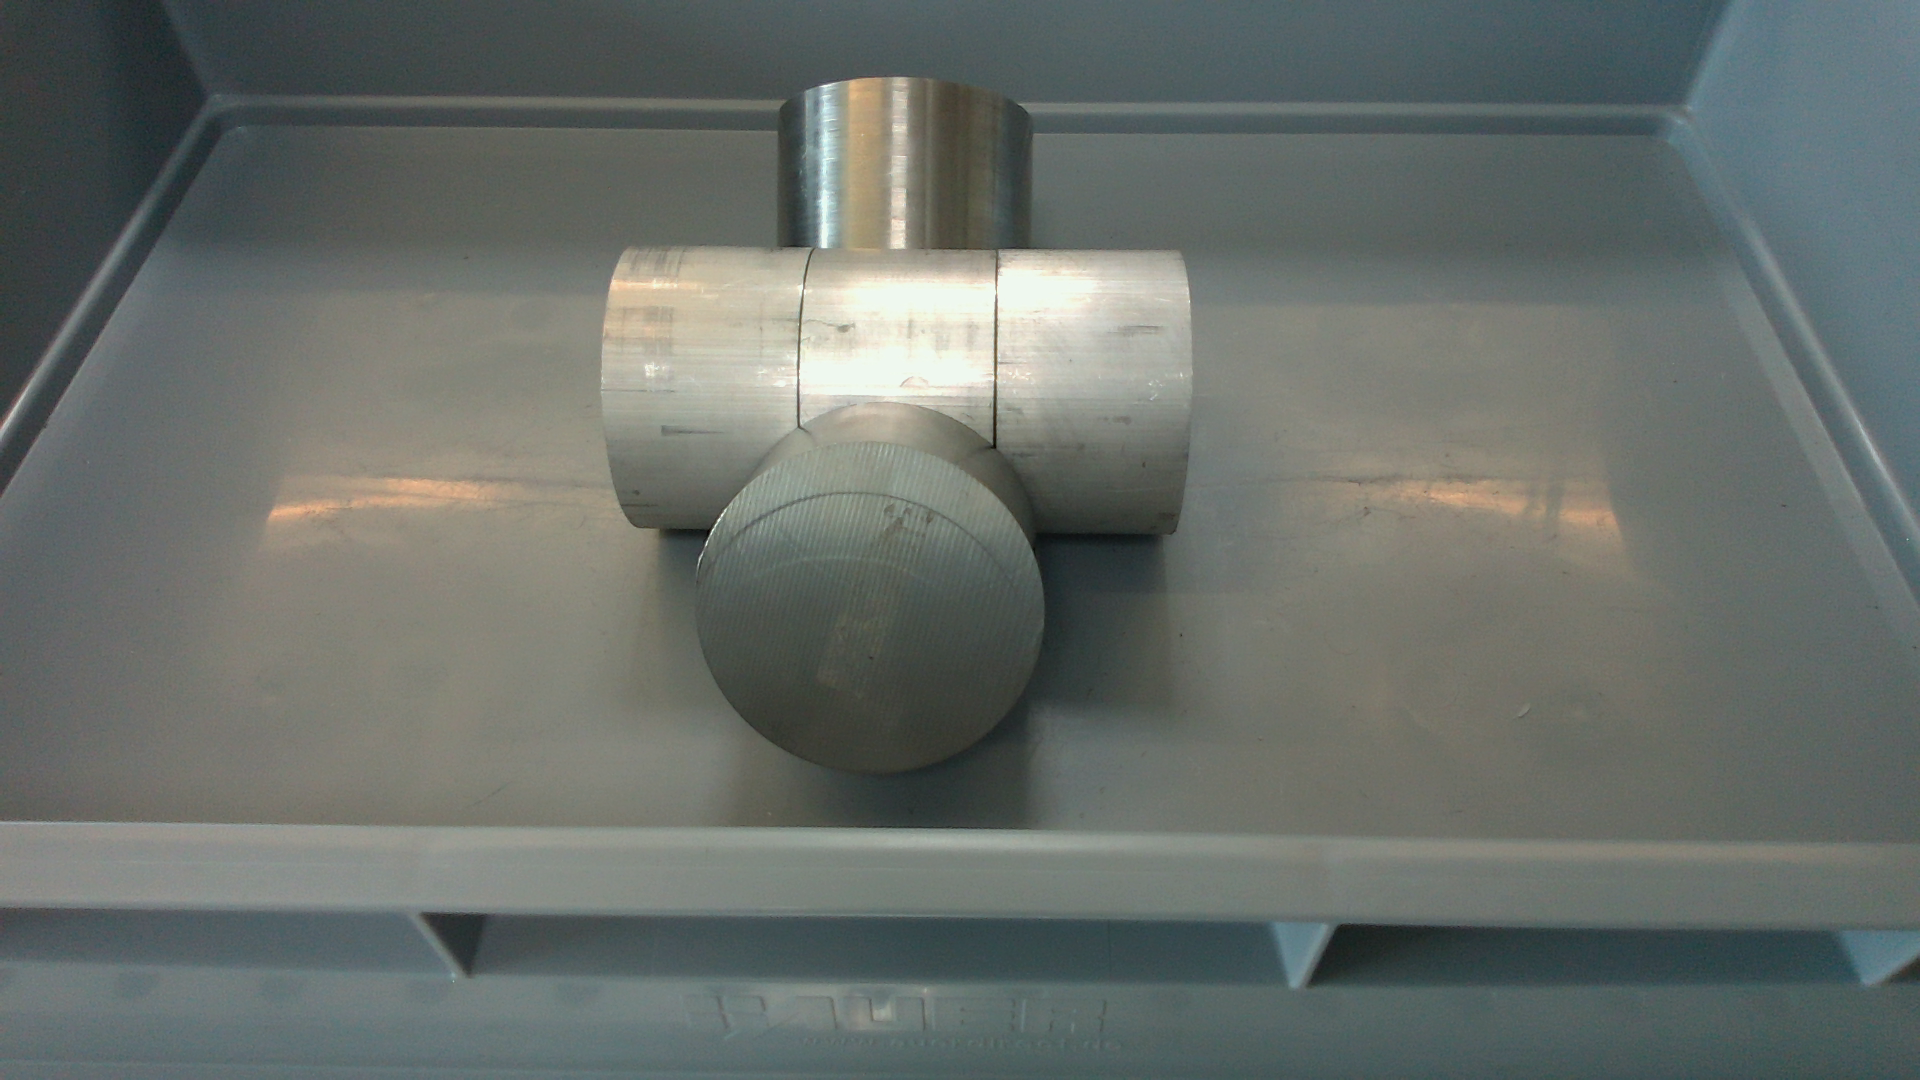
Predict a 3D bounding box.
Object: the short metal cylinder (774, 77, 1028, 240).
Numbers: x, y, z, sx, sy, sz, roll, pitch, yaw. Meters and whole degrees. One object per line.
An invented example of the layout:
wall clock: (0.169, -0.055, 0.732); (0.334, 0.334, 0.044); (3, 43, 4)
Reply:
short metal cylinder: (-0.018, -0.106, 0.434); (0.080, 0.080, 0.050); (1, 88, 1)

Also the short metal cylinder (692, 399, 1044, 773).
short metal cylinder: (-0.021, 0.009, 0.336); (0.080, 0.080, 0.050); (0, 16, 0)

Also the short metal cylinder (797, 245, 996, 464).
short metal cylinder: (-0.015, -0.043, 0.390); (0.050, 0.080, 0.080); (1, 50, 1)

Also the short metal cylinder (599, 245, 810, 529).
short metal cylinder: (-0.066, -0.043, 0.390); (0.050, 0.080, 0.080); (1, 50, 1)

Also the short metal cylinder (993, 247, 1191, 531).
short metal cylinder: (0.035, -0.042, 0.390); (0.050, 0.080, 0.080); (1, 50, 1)
